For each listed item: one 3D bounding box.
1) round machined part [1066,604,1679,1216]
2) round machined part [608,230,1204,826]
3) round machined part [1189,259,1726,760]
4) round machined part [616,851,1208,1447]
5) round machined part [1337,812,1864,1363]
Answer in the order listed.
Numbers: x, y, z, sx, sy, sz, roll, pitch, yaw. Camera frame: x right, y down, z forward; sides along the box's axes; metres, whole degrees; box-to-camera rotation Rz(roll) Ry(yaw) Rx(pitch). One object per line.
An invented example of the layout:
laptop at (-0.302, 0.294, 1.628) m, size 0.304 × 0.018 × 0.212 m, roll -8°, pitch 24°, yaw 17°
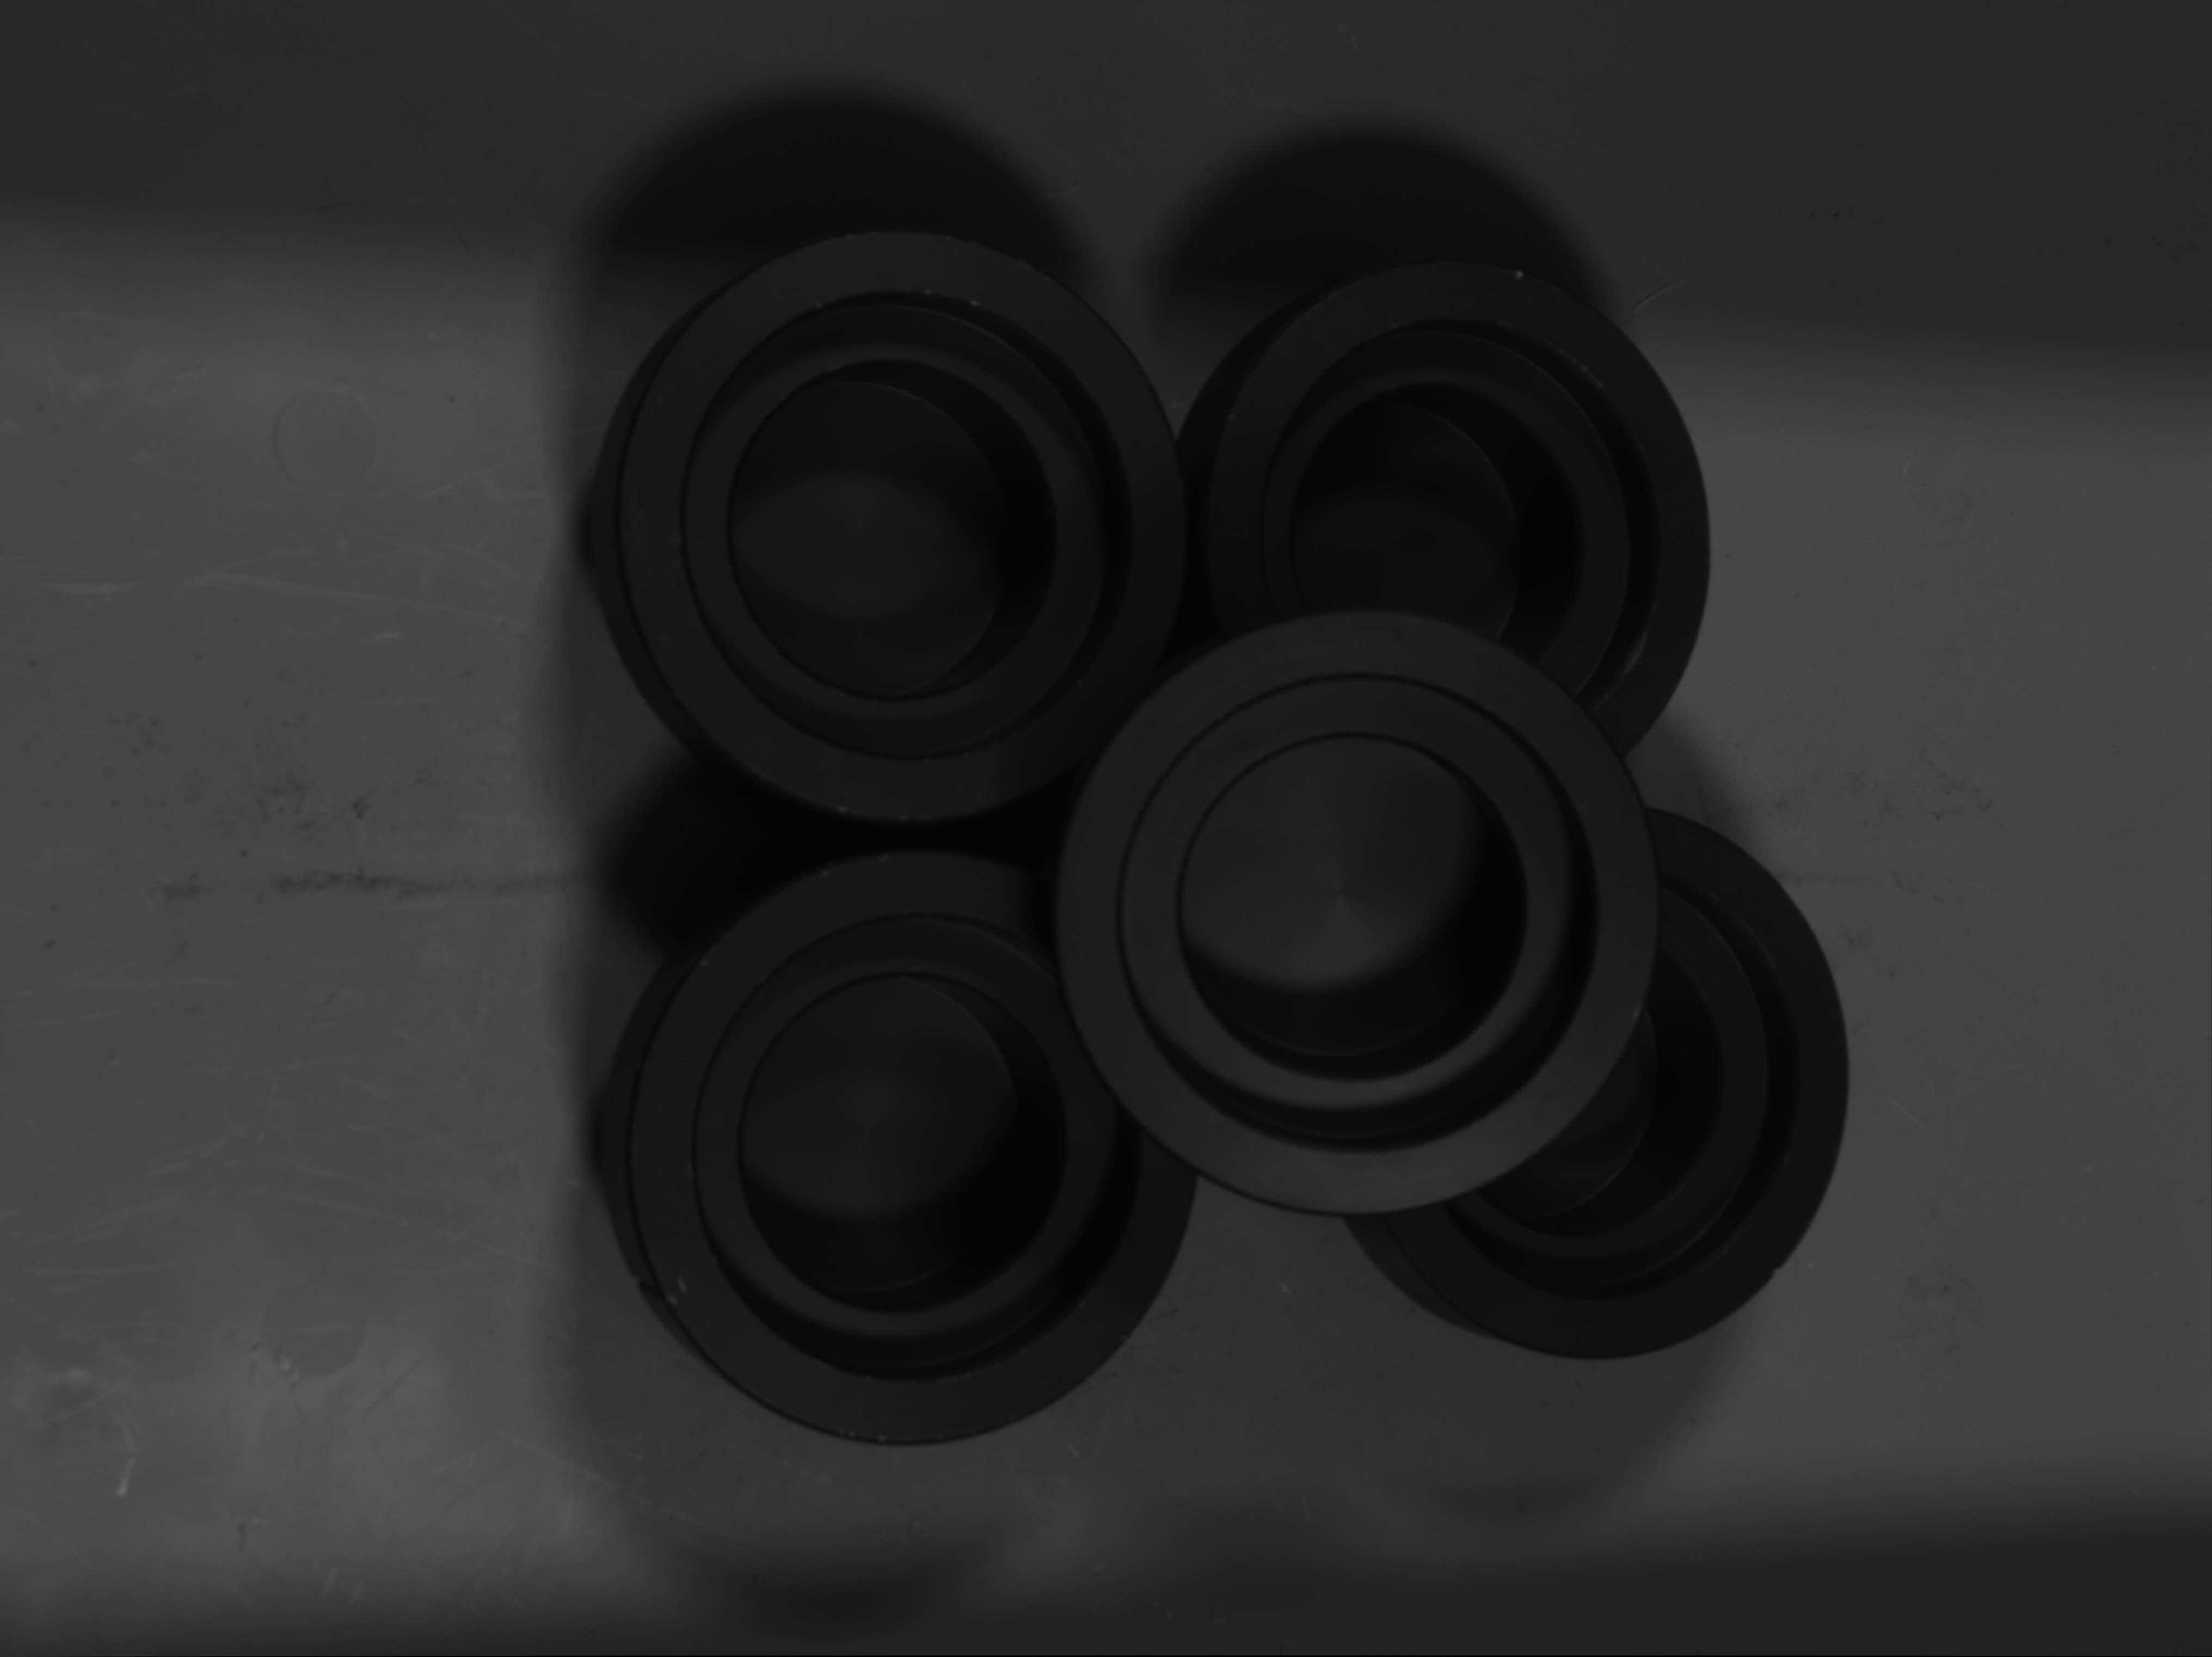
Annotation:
round machined part at (0.042, 0.012, 0.603) m, size 0.098 × 0.042 × 0.098 m, roll 0°, pitch 95°, yaw -1°
round machined part at (-0.036, -0.049, 0.620) m, size 0.098 × 0.042 × 0.098 m, roll 0°, pitch 90°, yaw -20°
round machined part at (0.058, -0.050, 0.654) m, size 0.098 × 0.042 × 0.098 m, roll 0°, pitch 90°, yaw -20°
round machined part at (-0.035, 0.053, 0.620) m, size 0.098 × 0.042 × 0.098 m, roll 0°, pitch 90°, yaw -20°
round machined part at (0.084, 0.045, 0.663) m, size 0.098 × 0.042 × 0.098 m, roll 0°, pitch 90°, yaw -20°
